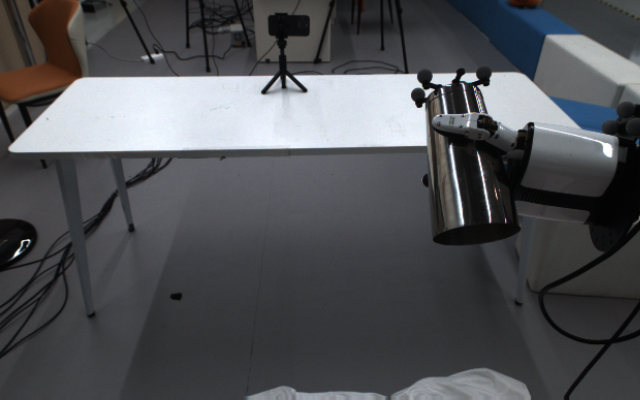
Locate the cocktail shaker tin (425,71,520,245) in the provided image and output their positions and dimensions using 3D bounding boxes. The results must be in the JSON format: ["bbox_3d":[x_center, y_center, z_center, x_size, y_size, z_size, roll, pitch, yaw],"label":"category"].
[{"bbox_3d":[0.164,-0.042,0.548,0.093,0.093,0.170,-2,71,-6],"label":"cocktail shaker tin"}]
